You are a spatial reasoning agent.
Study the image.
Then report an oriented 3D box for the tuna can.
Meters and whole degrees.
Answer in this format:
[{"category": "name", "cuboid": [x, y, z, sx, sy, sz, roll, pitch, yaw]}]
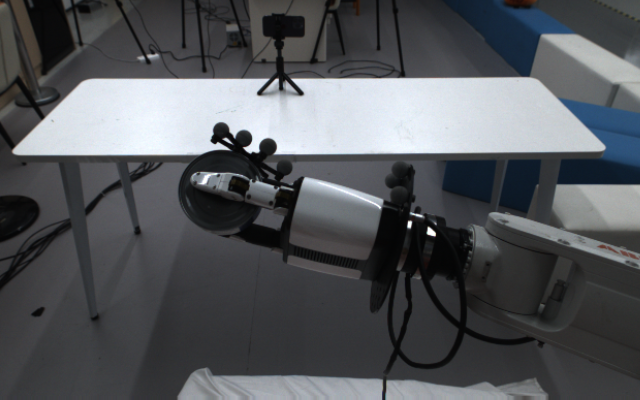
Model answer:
[{"category": "tuna can", "cuboid": [-0.100, -0.007, 0.508, 0.085, 0.034, 0.085, 1, 75, -4]}]
